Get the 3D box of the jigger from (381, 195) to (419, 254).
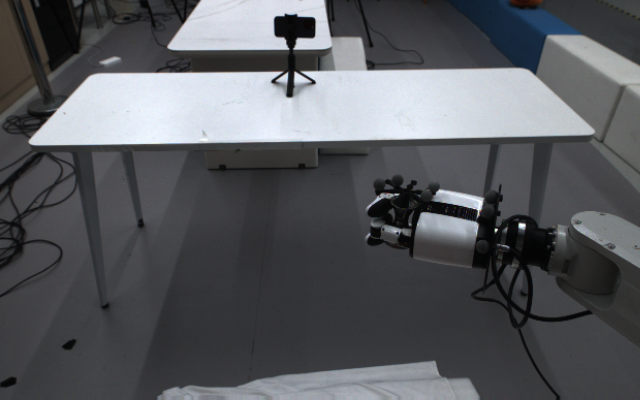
[{"bbox_3d":[0.126,0.033,0.730,0.043,0.071,0.043,3,24,-1],"label":"jigger"}]
